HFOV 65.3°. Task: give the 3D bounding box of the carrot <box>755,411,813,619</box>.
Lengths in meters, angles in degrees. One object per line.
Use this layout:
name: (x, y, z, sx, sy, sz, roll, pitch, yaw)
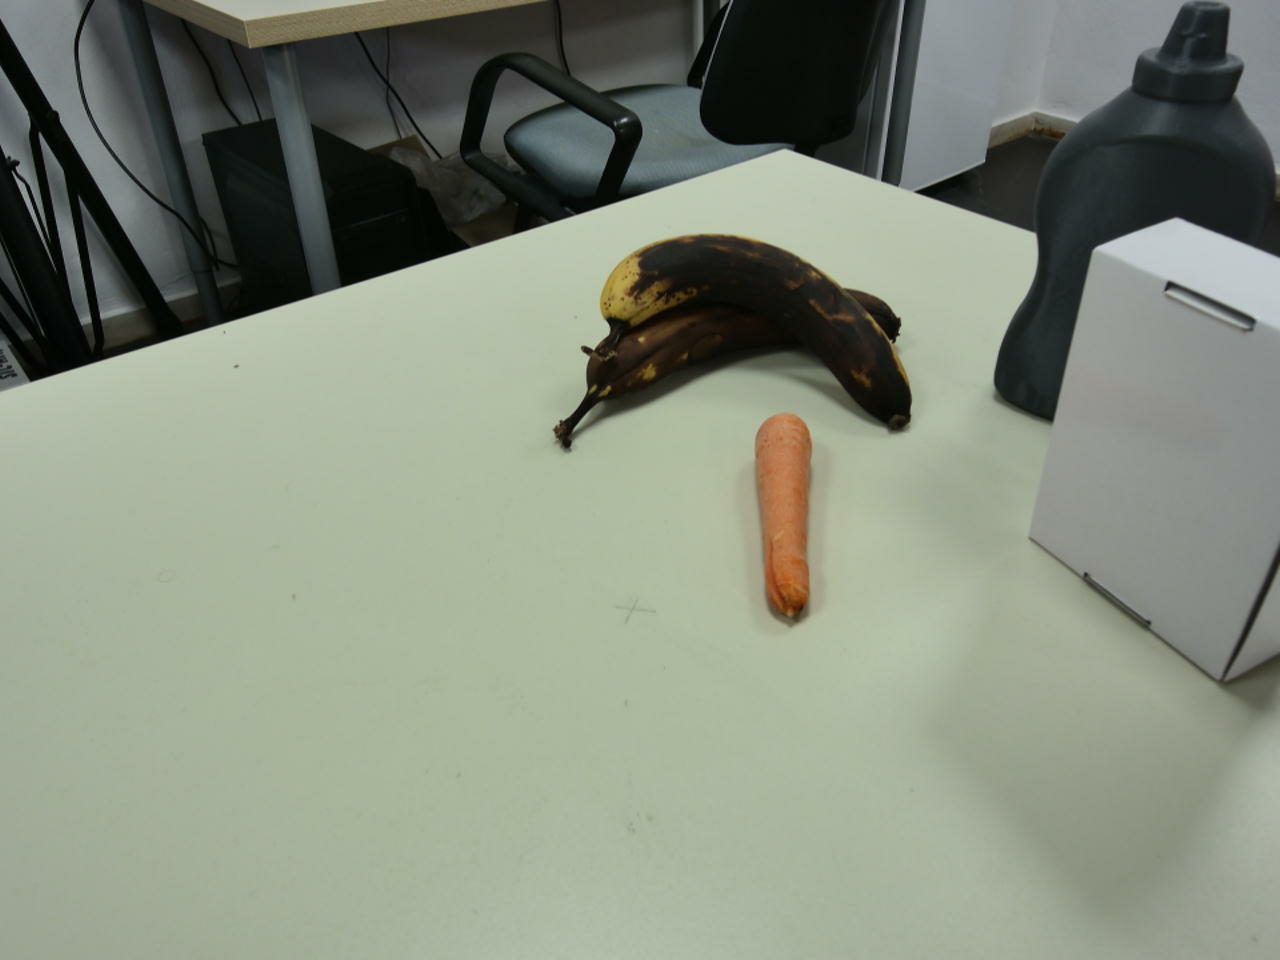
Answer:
carrot: (0.068, 0.010, 0.471, 0.030, 0.032, 0.136, 3, 35, 6)
